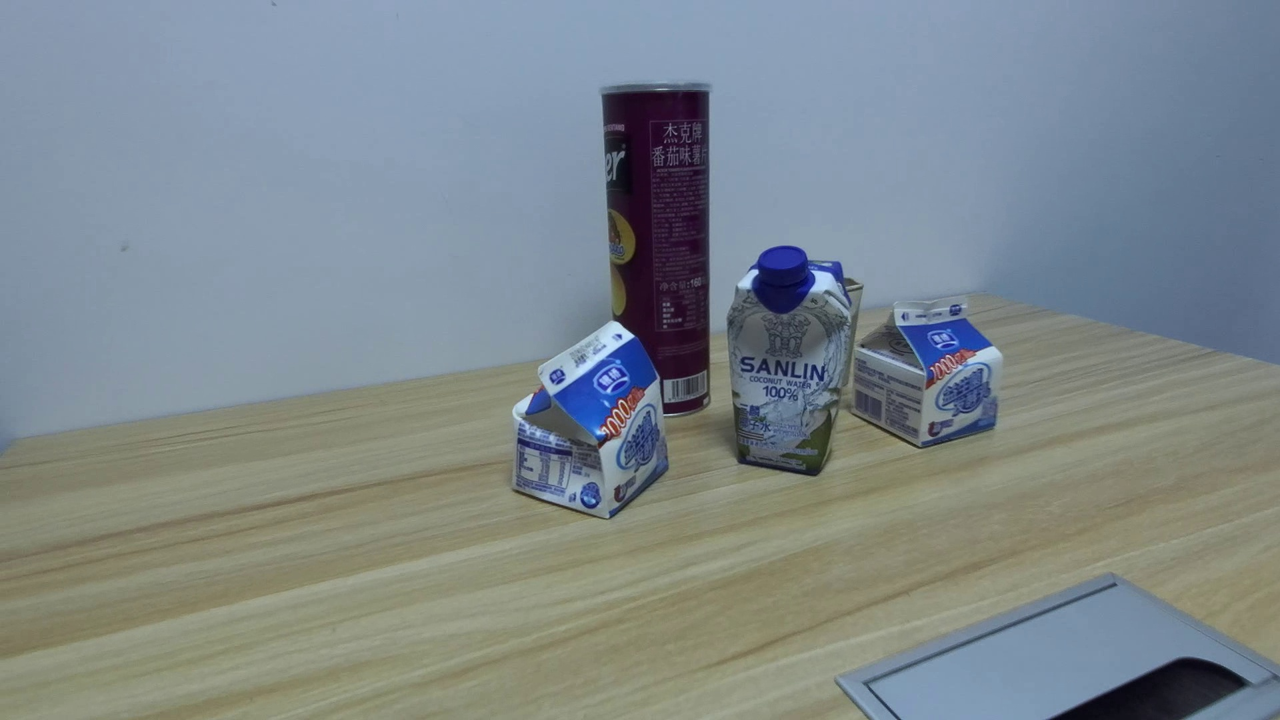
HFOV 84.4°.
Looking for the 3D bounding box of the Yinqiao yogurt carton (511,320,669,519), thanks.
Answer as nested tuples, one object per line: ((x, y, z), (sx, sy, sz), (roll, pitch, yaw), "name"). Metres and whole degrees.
((-0.029, 0.029, 0.428), (0.077, 0.093, 0.083), (10, 23, 30), "Yinqiao yogurt carton")

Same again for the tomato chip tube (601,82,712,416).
((0.016, -0.079, 0.525), (0.078, 0.234, 0.078), (-2, 19, 1), "tomato chip tube")

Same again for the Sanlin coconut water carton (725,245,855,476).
((0.092, -0.002, 0.439), (0.078, 0.142, 0.058), (7, 26, 24), "Sanlin coconut water carton")
